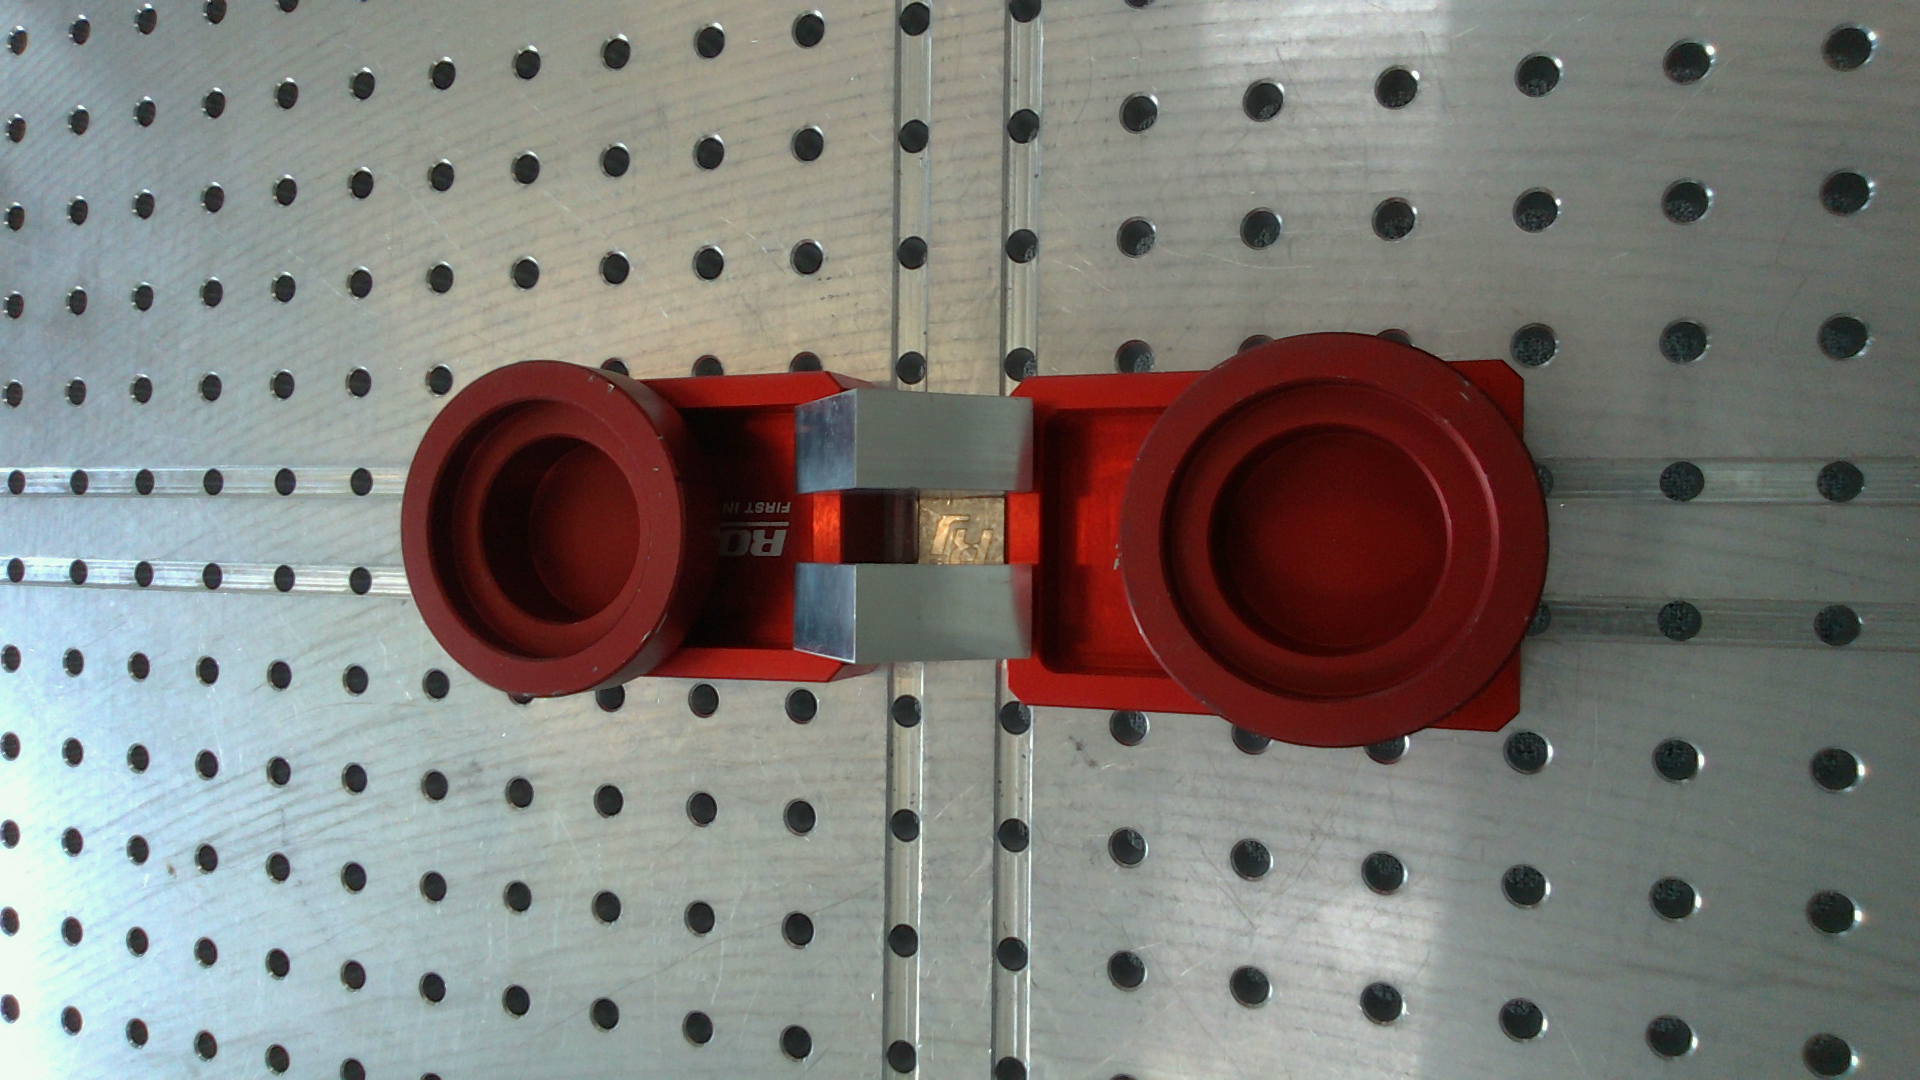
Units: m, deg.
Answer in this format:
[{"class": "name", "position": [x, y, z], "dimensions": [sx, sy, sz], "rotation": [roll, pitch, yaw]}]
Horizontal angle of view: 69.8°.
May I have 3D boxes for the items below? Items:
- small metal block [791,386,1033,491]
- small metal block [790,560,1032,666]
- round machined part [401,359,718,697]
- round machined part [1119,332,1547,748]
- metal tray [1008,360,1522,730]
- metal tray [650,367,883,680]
[{"class": "small metal block", "position": [-0.014, -0.026, 0.375], "dimensions": [0.050, 0.050, 0.025], "rotation": [-179, 89, -64]}, {"class": "small metal block", "position": [-0.014, 0.019, 0.375], "dimensions": [0.050, 0.050, 0.025], "rotation": [-179, 89, -64]}, {"class": "round machined part", "position": [-0.116, -0.004, 0.418], "dimensions": [0.098, 0.042, 0.098], "rotation": [0, 90, 20]}, {"class": "round machined part", "position": [0.092, 0.000, 0.343], "dimensions": [0.098, 0.042, 0.098], "rotation": [0, 90, 20]}, {"class": "metal tray", "position": [0.079, 0.001, 0.368], "dimensions": [0.130, 0.030, 0.090], "rotation": [1, 90, 20]}, {"class": "metal tray", "position": [-0.090, -0.005, 0.429], "dimensions": [0.130, 0.030, 0.090], "rotation": [-1, 92, 20]}]
